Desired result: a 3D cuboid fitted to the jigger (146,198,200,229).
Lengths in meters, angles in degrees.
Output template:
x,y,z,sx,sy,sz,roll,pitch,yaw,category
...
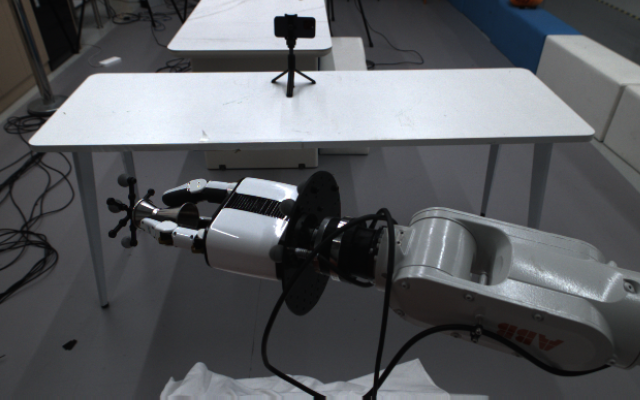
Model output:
x,y,z,sx,sy,sz,roll,pitch,yaw,category
-0.183,0.018,0.597,0.071,0.043,0.043,6,34,20,jigger
